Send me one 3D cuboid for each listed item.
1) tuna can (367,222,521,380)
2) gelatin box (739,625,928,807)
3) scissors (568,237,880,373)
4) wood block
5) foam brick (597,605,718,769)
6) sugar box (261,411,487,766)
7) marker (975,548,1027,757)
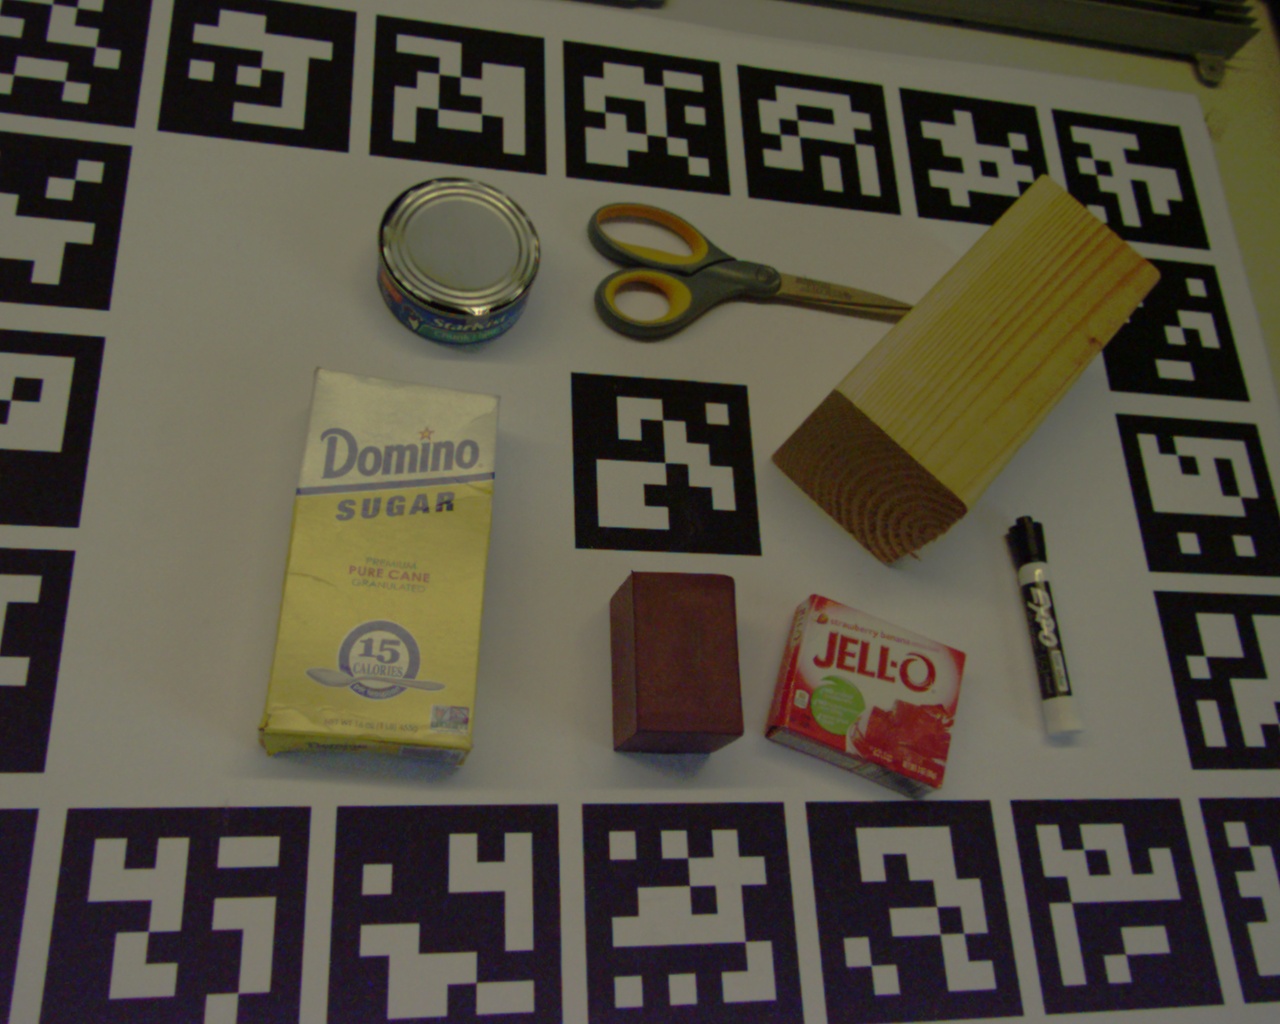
[{"bbox_3d":[-0.112,-0.119,0.649,0.085,0.034,0.086,4,70,-12],"label":"tuna can"},{"bbox_3d":[0.105,0.111,0.622,0.089,0.030,0.073,21,68,-5],"label":"gelatin box"},{"bbox_3d":[0.052,-0.114,0.699,0.202,0.016,0.088,10,69,-8],"label":"scissors"},{"bbox_3d":[0.176,-0.060,0.671,0.090,0.091,0.205,43,66,5],"label":"wood block"},{"bbox_3d":[0.008,0.092,0.590,0.052,0.051,0.078,5,70,-12],"label":"foam brick"},{"bbox_3d":[-0.133,0.039,0.585,0.092,0.045,0.177,7,69,-12],"label":"sugar box"},{"bbox_3d":[0.209,0.080,0.662,0.019,0.020,0.121,4,72,-13],"label":"marker"}]
